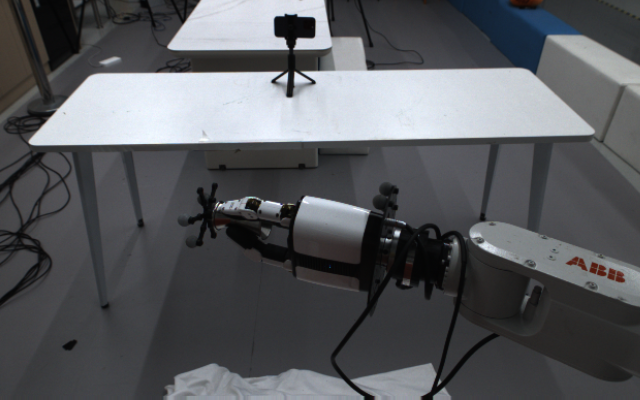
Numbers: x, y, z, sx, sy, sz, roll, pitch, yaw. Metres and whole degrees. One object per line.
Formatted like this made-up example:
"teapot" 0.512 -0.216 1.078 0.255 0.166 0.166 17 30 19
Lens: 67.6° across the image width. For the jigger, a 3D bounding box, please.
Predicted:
"jigger" -0.094 0.020 0.626 0.071 0.043 0.043 8 35 14
